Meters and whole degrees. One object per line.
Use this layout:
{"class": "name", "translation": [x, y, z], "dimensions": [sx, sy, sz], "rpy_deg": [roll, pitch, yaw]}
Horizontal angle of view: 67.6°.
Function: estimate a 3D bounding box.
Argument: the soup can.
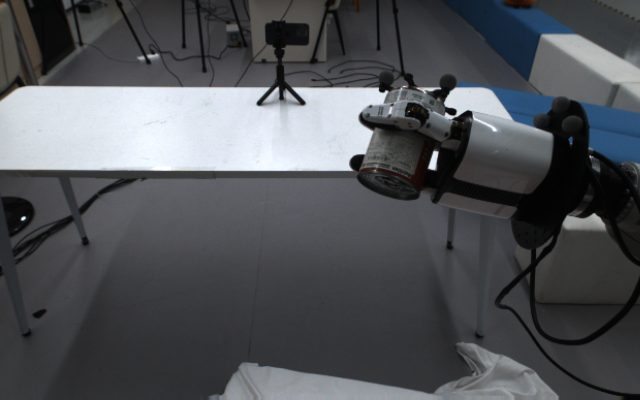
{"class": "soup can", "translation": [0.088, -0.060, 0.513], "dimensions": [0.067, 0.067, 0.101], "rpy_deg": [15, 75, 18]}
